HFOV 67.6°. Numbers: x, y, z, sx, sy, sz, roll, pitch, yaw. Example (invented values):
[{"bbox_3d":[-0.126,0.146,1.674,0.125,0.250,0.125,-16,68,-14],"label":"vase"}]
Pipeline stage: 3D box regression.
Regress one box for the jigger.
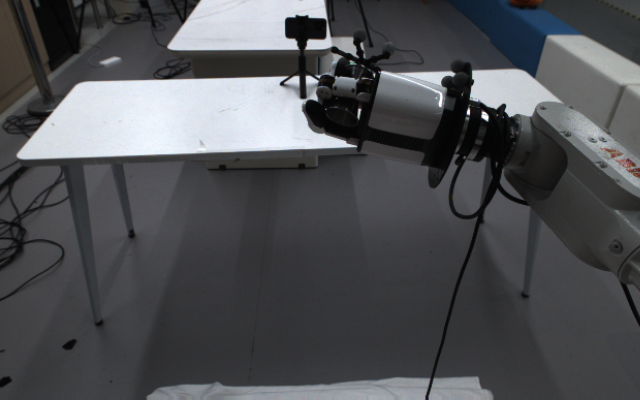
[{"bbox_3d":[0.041,-0.135,0.614,0.043,0.043,0.071,14,71,17],"label":"jigger"}]
